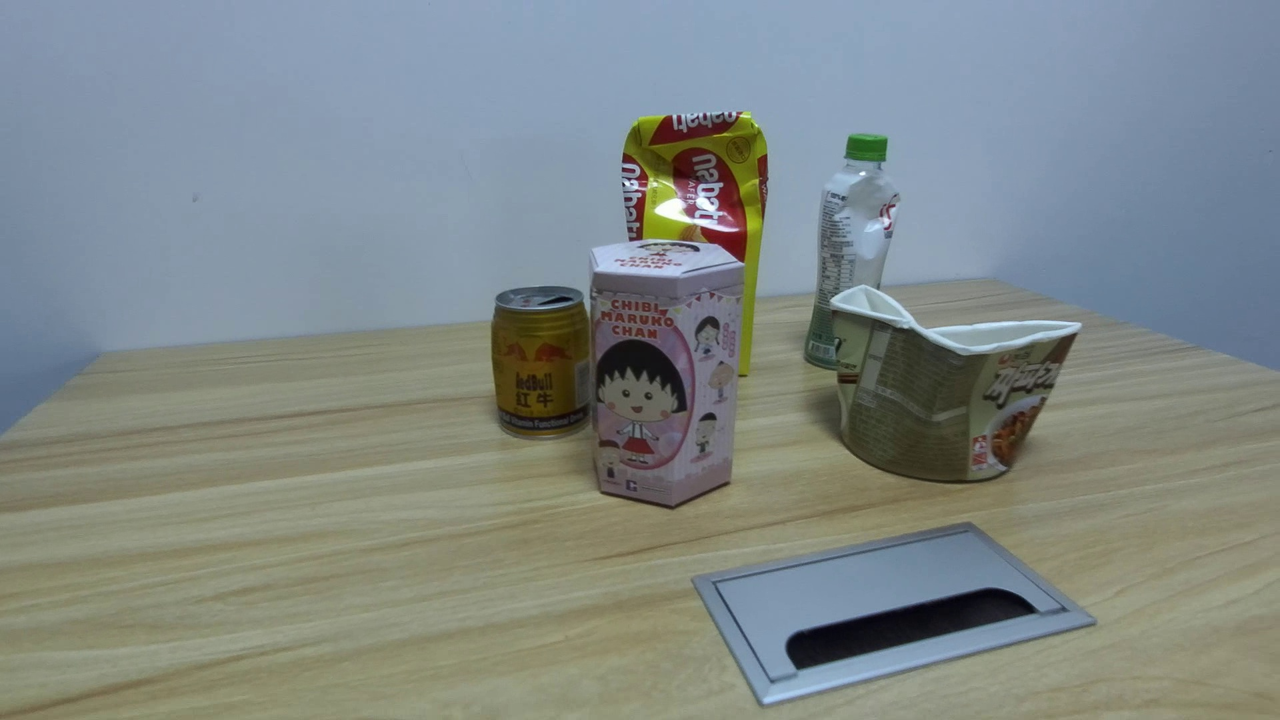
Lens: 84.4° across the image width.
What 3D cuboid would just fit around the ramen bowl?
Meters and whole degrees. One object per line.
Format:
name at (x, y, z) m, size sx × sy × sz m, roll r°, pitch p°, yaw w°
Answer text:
ramen bowl at (0.187, 0.010, 0.461) m, size 0.112 × 0.093 × 0.127 m, roll -13°, pitch 26°, yaw -28°

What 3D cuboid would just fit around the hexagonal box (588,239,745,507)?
hexagonal box at (0.013, 0.006, 0.410) m, size 0.091 × 0.136 × 0.084 m, roll 9°, pitch 22°, yaw 20°

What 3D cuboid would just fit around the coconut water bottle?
coconut water bottle at (0.176, -0.087, 0.584) m, size 0.069 × 0.187 × 0.069 m, roll 2°, pitch 19°, yaw 0°

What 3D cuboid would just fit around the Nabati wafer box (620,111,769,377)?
Nabati wafer box at (0.045, -0.088, 0.564) m, size 0.113 × 0.205 × 0.042 m, roll -3°, pitch 23°, yaw -1°
